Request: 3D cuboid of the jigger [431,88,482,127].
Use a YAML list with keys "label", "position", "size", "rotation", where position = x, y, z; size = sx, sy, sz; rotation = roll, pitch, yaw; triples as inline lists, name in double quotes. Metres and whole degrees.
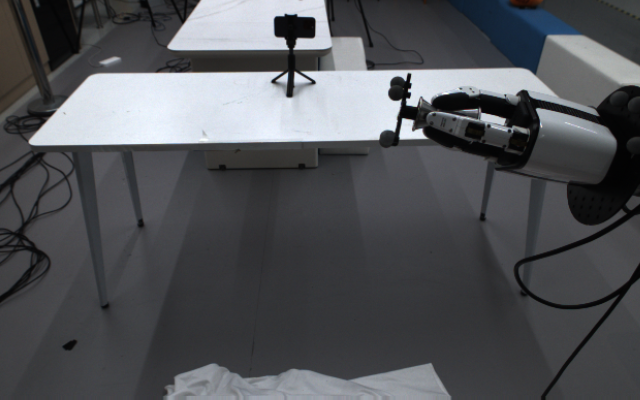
- label: "jigger"
  position: [0.150, -0.095, 0.555]
  size: [0.071, 0.043, 0.043]
  rotation: [12, 36, 5]
